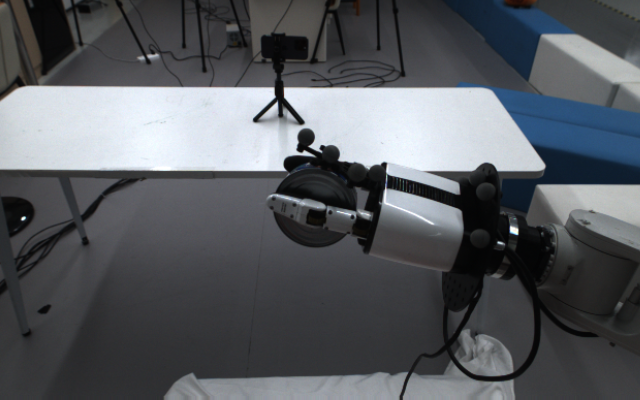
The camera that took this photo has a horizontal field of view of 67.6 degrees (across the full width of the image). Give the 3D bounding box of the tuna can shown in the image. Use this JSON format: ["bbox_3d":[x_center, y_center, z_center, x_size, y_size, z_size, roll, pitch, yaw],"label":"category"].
[{"bbox_3d":[-0.001,0.003,0.505,0.085,0.085,0.034,7,16,6],"label":"tuna can"}]
